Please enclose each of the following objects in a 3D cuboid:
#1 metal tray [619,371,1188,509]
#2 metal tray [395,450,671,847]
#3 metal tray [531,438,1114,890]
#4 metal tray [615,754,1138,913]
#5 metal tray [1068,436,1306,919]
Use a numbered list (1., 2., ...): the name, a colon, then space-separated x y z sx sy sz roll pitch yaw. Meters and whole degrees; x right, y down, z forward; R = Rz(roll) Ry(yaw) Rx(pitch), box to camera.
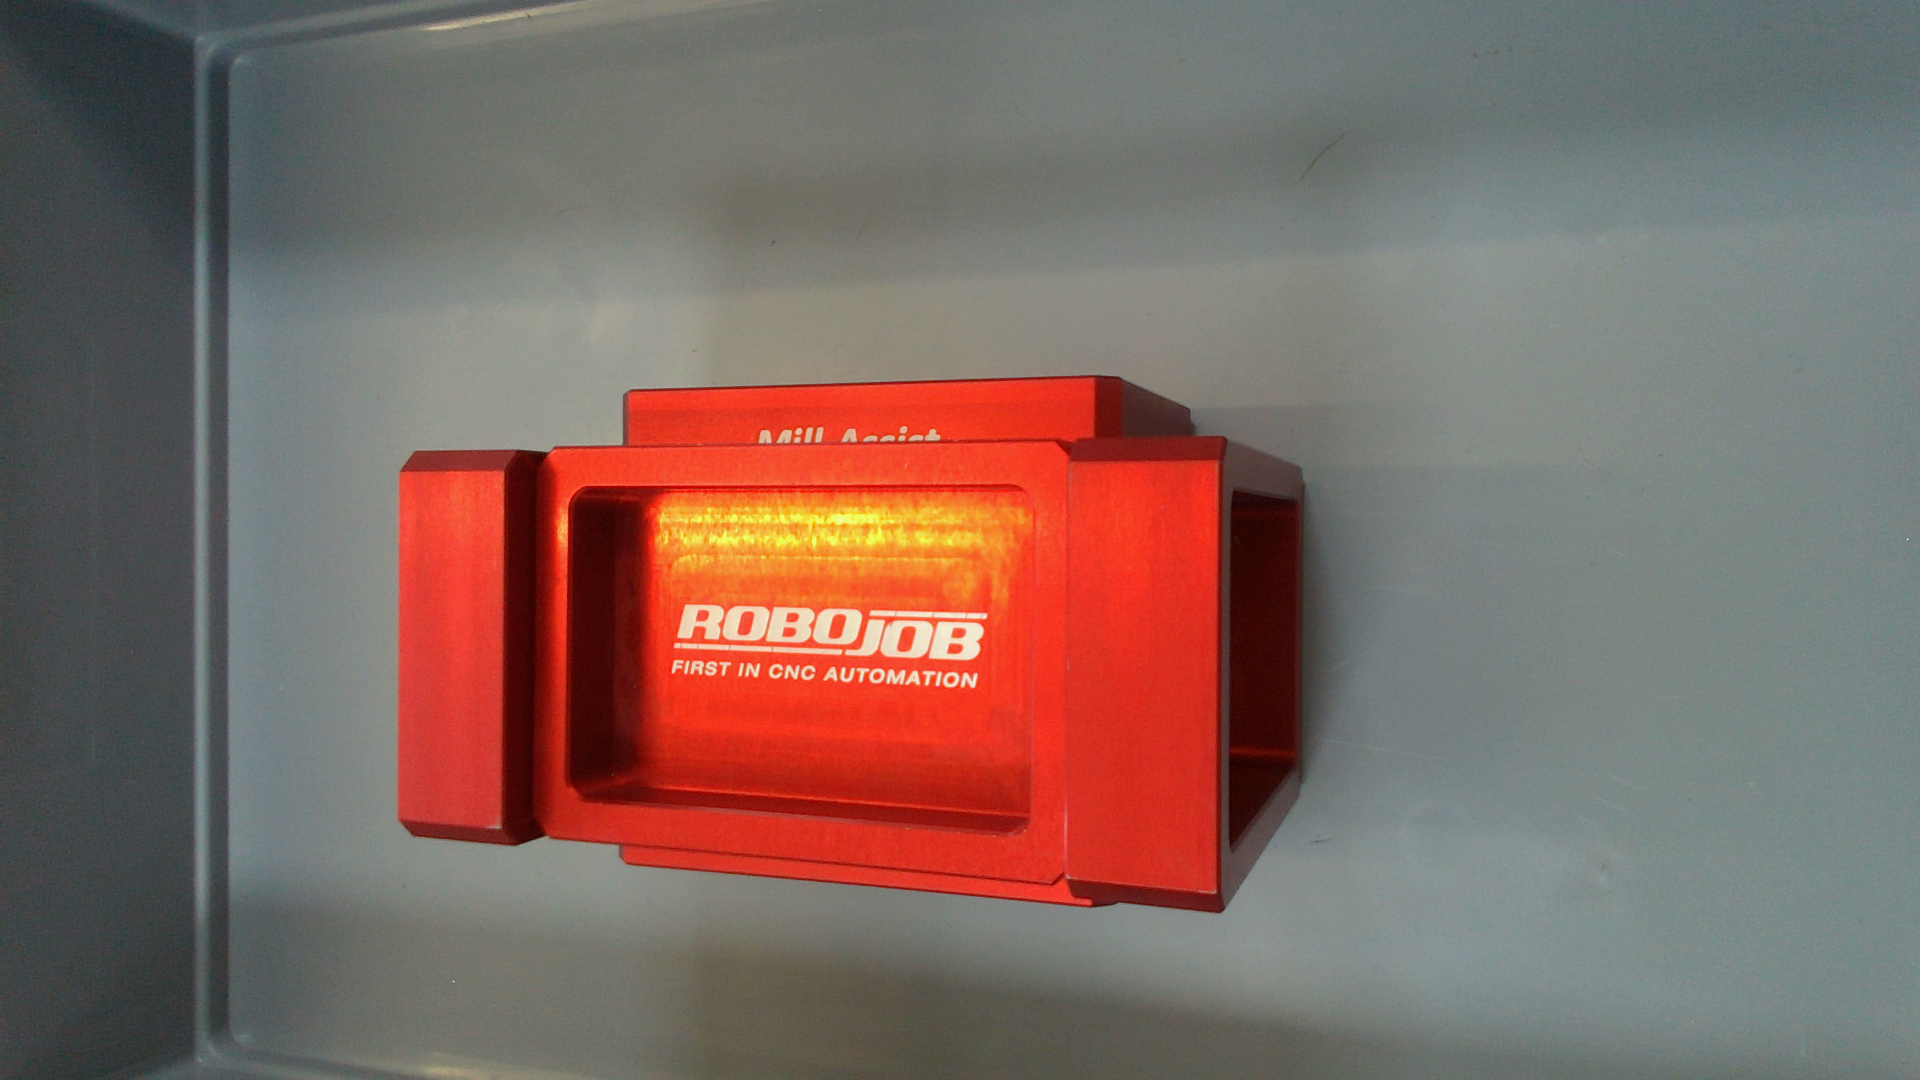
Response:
1. metal tray: -0.012 -0.023 0.363 0.130 0.090 0.030 0 91 20
2. metal tray: -0.094 0.024 0.373 0.030 0.130 0.090 1 91 20
3. metal tray: -0.032 0.024 0.307 0.130 0.030 0.090 1 90 20
4. metal tray: -0.012 0.067 0.363 0.130 0.090 0.030 0 90 20
5. metal tray: 0.057 0.025 0.317 0.030 0.130 0.090 1 91 20
